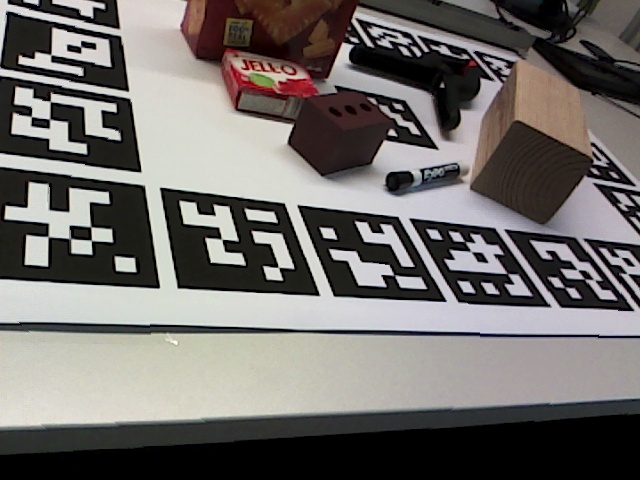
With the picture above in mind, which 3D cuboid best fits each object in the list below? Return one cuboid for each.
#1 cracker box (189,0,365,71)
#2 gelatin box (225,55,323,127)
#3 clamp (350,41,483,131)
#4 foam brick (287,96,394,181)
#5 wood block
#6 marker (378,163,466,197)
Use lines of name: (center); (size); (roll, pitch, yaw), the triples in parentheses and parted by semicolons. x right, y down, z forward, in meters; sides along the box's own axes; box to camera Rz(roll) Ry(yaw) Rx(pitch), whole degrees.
cracker box: (-0.024, -0.289, 0.633); (0.163, 0.214, 0.072); (2, 44, -31)
gelatin box: (-0.045, -0.149, 0.624); (0.089, 0.030, 0.073); (3, 46, -27)
clamp: (0.154, -0.213, 0.799); (0.166, 0.036, 0.202); (43, 42, 18)
foam brick: (0.019, -0.097, 0.581); (0.077, 0.051, 0.053); (-20, 60, -42)
wood block: (0.238, -0.119, 0.705); (0.090, 0.091, 0.206); (25, 36, 1)
marker: (0.101, -0.060, 0.610); (0.120, 0.019, 0.020); (-15, 56, -40)
